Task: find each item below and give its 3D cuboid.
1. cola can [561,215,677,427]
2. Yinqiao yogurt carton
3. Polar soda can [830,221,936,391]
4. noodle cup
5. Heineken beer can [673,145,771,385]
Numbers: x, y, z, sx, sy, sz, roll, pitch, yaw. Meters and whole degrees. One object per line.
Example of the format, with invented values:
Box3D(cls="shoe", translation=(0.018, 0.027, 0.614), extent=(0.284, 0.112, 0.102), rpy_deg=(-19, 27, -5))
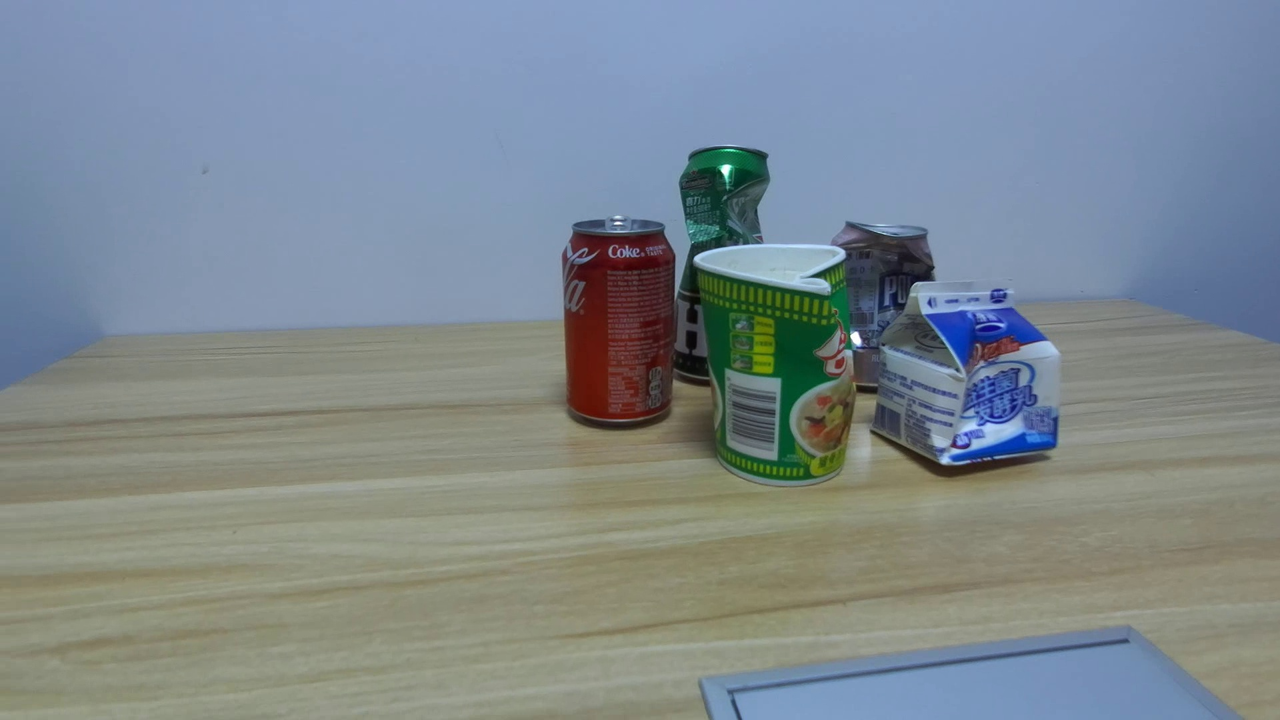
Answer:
Box3D(cls="cola can", translation=(-0.013, -0.024, 0.430), extent=(0.068, 0.120, 0.068), rpy_deg=(-1, 18, 1))
Box3D(cls="Yinqiao yogurt carton", translation=(0.178, 0.003, 0.393), extent=(0.077, 0.094, 0.071), rpy_deg=(-6, 13, -18))
Box3D(cls="Polar soda can", translation=(0.162, -0.039, 0.487), extent=(0.070, 0.114, 0.074), rpy_deg=(26, 37, 36))
Box3D(cls="noodle cup", translation=(0.074, 0.001, 0.369), extent=(0.086, 0.109, 0.094), rpy_deg=(16, 25, 38))
Box3D(cls="Heineken beer can", translation=(0.058, -0.065, 0.491), extent=(0.067, 0.159, 0.078), rpy_deg=(0, 12, -10))
